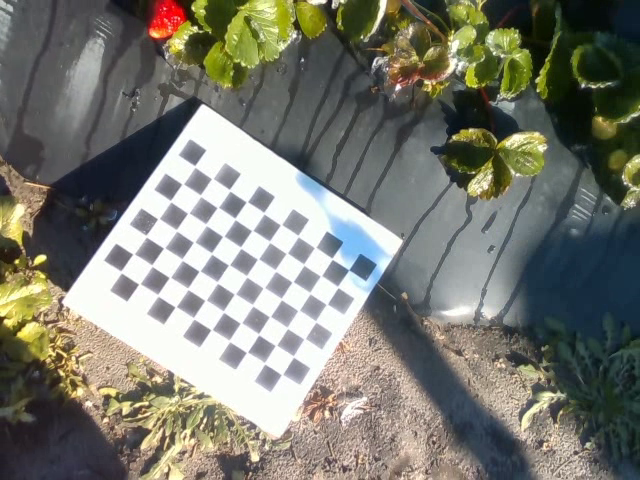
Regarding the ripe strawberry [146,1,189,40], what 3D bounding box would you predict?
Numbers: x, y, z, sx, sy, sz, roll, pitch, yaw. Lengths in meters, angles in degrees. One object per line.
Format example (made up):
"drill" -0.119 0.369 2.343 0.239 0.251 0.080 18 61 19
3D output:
"ripe strawberry" -0.144 -0.197 0.508 0.042 0.052 0.047 27 -45 -5
